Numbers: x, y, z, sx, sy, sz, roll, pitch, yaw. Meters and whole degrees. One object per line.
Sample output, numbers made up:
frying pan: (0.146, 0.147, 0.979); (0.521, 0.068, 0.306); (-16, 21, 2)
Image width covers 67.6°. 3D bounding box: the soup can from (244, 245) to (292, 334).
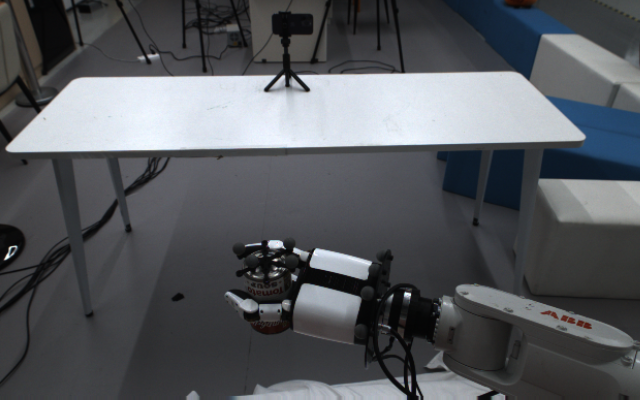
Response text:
soup can: (-0.070, 0.129, 0.678); (0.067, 0.101, 0.067); (-2, 32, 1)
